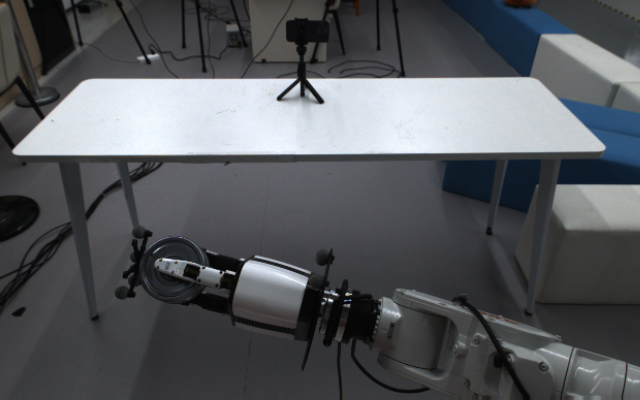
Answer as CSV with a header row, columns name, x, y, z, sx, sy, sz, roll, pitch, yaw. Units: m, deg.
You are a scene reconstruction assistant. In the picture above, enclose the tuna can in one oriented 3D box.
name,x,y,z,sx,sy,sz,roll,pitch,yaw
tuna can,-0.185,0.095,0.625,0.085,0.034,0.085,1,74,-4
